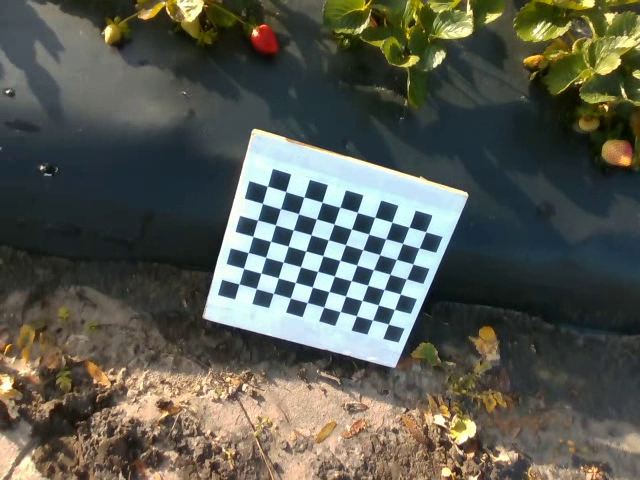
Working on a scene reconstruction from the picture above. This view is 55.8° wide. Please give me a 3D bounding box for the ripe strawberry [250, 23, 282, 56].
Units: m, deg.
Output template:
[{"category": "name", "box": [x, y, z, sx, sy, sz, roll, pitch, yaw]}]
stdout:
[{"category": "ripe strawberry", "box": [-0.059, -0.233, 0.703, 0.030, 0.045, 0.033, -41, -14, 16]}]
